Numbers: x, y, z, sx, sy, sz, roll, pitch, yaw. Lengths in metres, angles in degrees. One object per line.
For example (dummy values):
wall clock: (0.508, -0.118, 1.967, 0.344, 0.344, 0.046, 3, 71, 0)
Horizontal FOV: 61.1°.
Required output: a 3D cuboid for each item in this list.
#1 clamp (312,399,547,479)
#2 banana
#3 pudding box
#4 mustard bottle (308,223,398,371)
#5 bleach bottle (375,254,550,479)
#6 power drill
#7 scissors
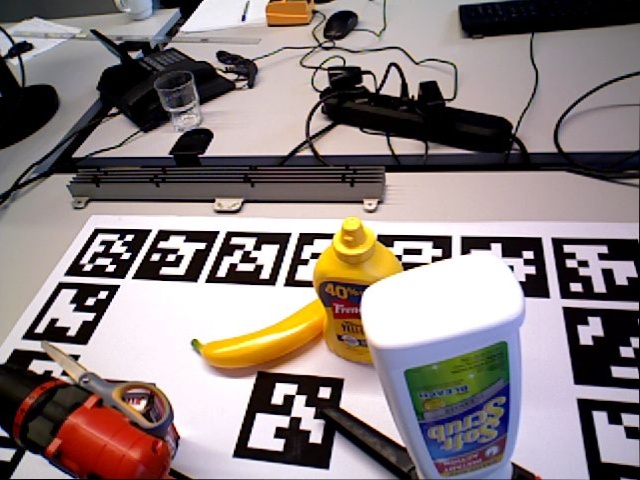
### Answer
clamp: (0.087, 0.207, 0.470, 0.203, 0.037, 0.162, -2, 47, 8)
banana: (-0.057, 0.090, 0.634, 0.195, 0.039, 0.074, -26, 28, -14)
pudding box: (-0.217, 0.176, 0.551, 0.114, 0.092, 0.038, 5, 39, 16)
mustard bottle: (0.037, 0.055, 0.552, 0.096, 0.195, 0.057, 14, 48, 22)
bleach bottle: (0.111, 0.121, 0.398, 0.102, 0.254, 0.067, -16, 39, 5)
power drill: (-0.185, 0.180, 0.427, 0.185, 0.190, 0.056, 10, 40, 25)
scissors: (-0.233, 0.124, 0.513, 0.203, 0.016, 0.086, 25, 59, 26)
